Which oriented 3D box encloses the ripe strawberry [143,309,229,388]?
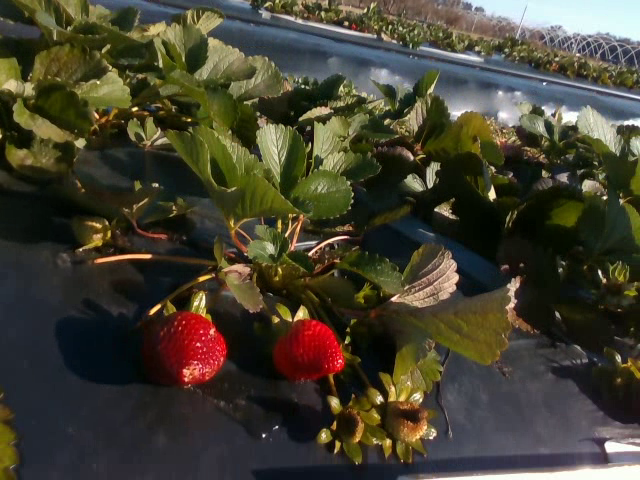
[{"bbox_3d":[-0.069,0.057,0.299,0.050,0.045,0.050,25,0,-16],"label":"ripe strawberry"}]

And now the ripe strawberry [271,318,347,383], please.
[{"bbox_3d":[-0.003,0.063,0.330,0.042,0.039,0.049,-41,30,-25],"label":"ripe strawberry"}]
